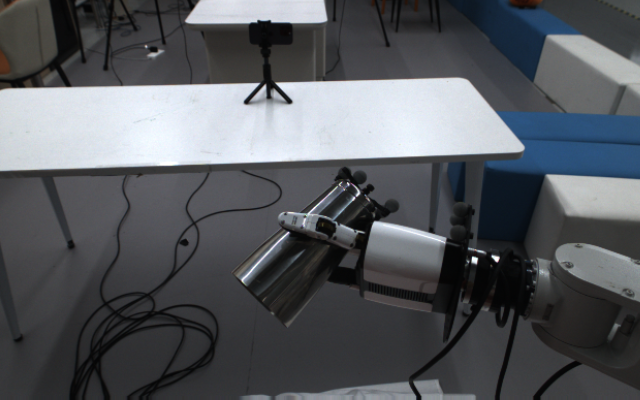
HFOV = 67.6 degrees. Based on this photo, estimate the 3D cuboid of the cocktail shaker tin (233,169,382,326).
[{"bbox_3d":[-0.012,0.053,0.576,0.170,0.093,0.093,-43,50,-14],"label":"cocktail shaker tin"}]
